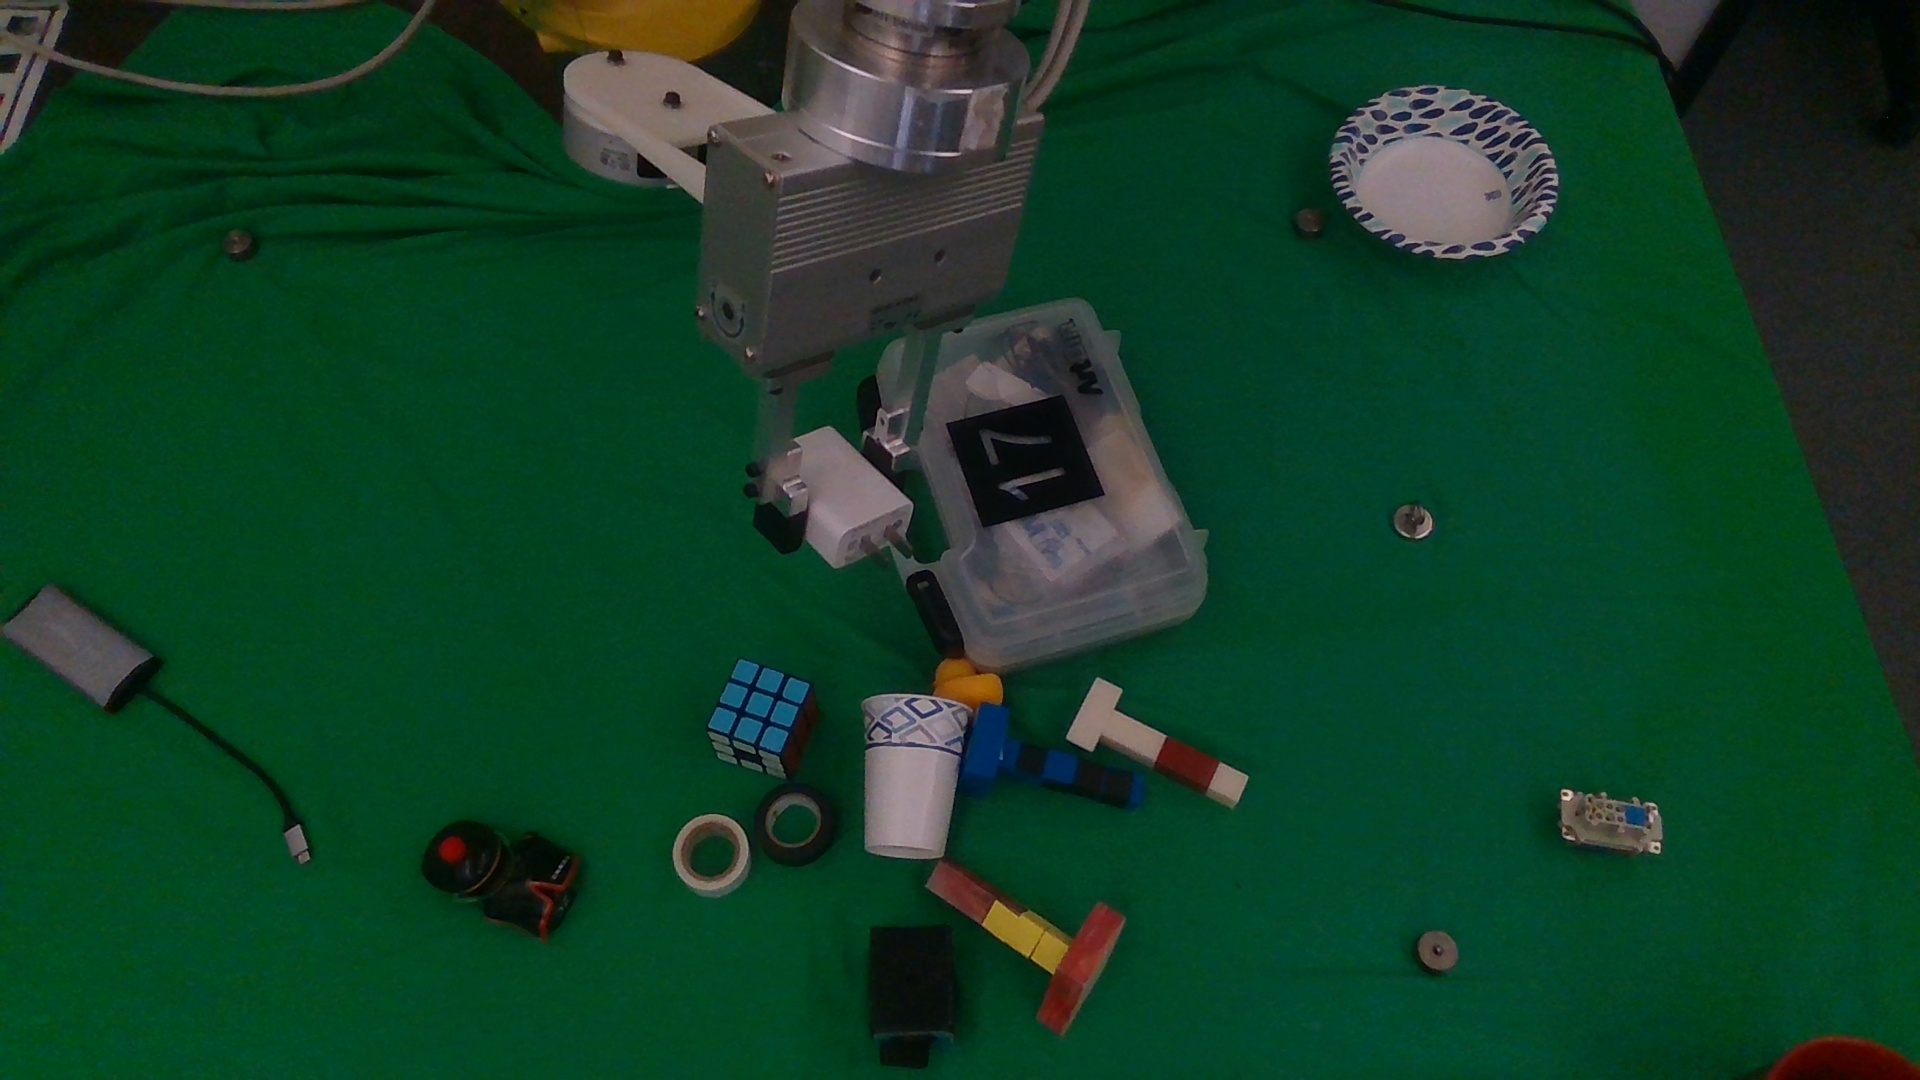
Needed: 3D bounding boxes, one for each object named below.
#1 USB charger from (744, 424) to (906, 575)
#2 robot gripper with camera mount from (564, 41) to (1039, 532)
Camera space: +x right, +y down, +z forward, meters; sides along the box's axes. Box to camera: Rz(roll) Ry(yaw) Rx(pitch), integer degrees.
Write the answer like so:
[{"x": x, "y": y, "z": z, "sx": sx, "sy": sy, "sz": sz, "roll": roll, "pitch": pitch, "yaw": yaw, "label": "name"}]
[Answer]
[{"x": -0.051, "y": -0.014, "z": 0.568, "sx": 0.044, "sy": 0.029, "sz": 0.076, "roll": -25, "pitch": 52, "yaw": -28, "label": "USB charger"}, {"x": -0.096, "y": -0.117, "z": 0.555, "sx": 0.118, "sy": 0.159, "sz": 0.194, "roll": -27, "pitch": 58, "yaw": -39, "label": "robot gripper with camera mount"}]
